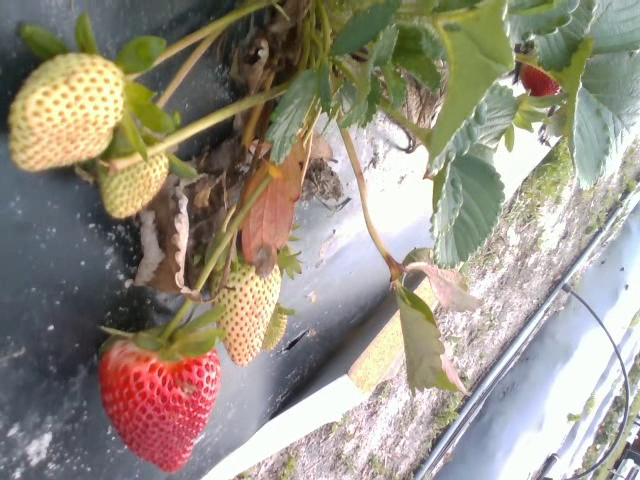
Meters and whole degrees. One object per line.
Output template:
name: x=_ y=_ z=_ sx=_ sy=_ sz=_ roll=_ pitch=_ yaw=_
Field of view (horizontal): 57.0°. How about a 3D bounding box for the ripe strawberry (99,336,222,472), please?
ripe strawberry: x=-0.054 y=0.057 z=0.209 sx=0.033 sy=0.059 sz=0.050 roll=12 pitch=27 yaw=34
